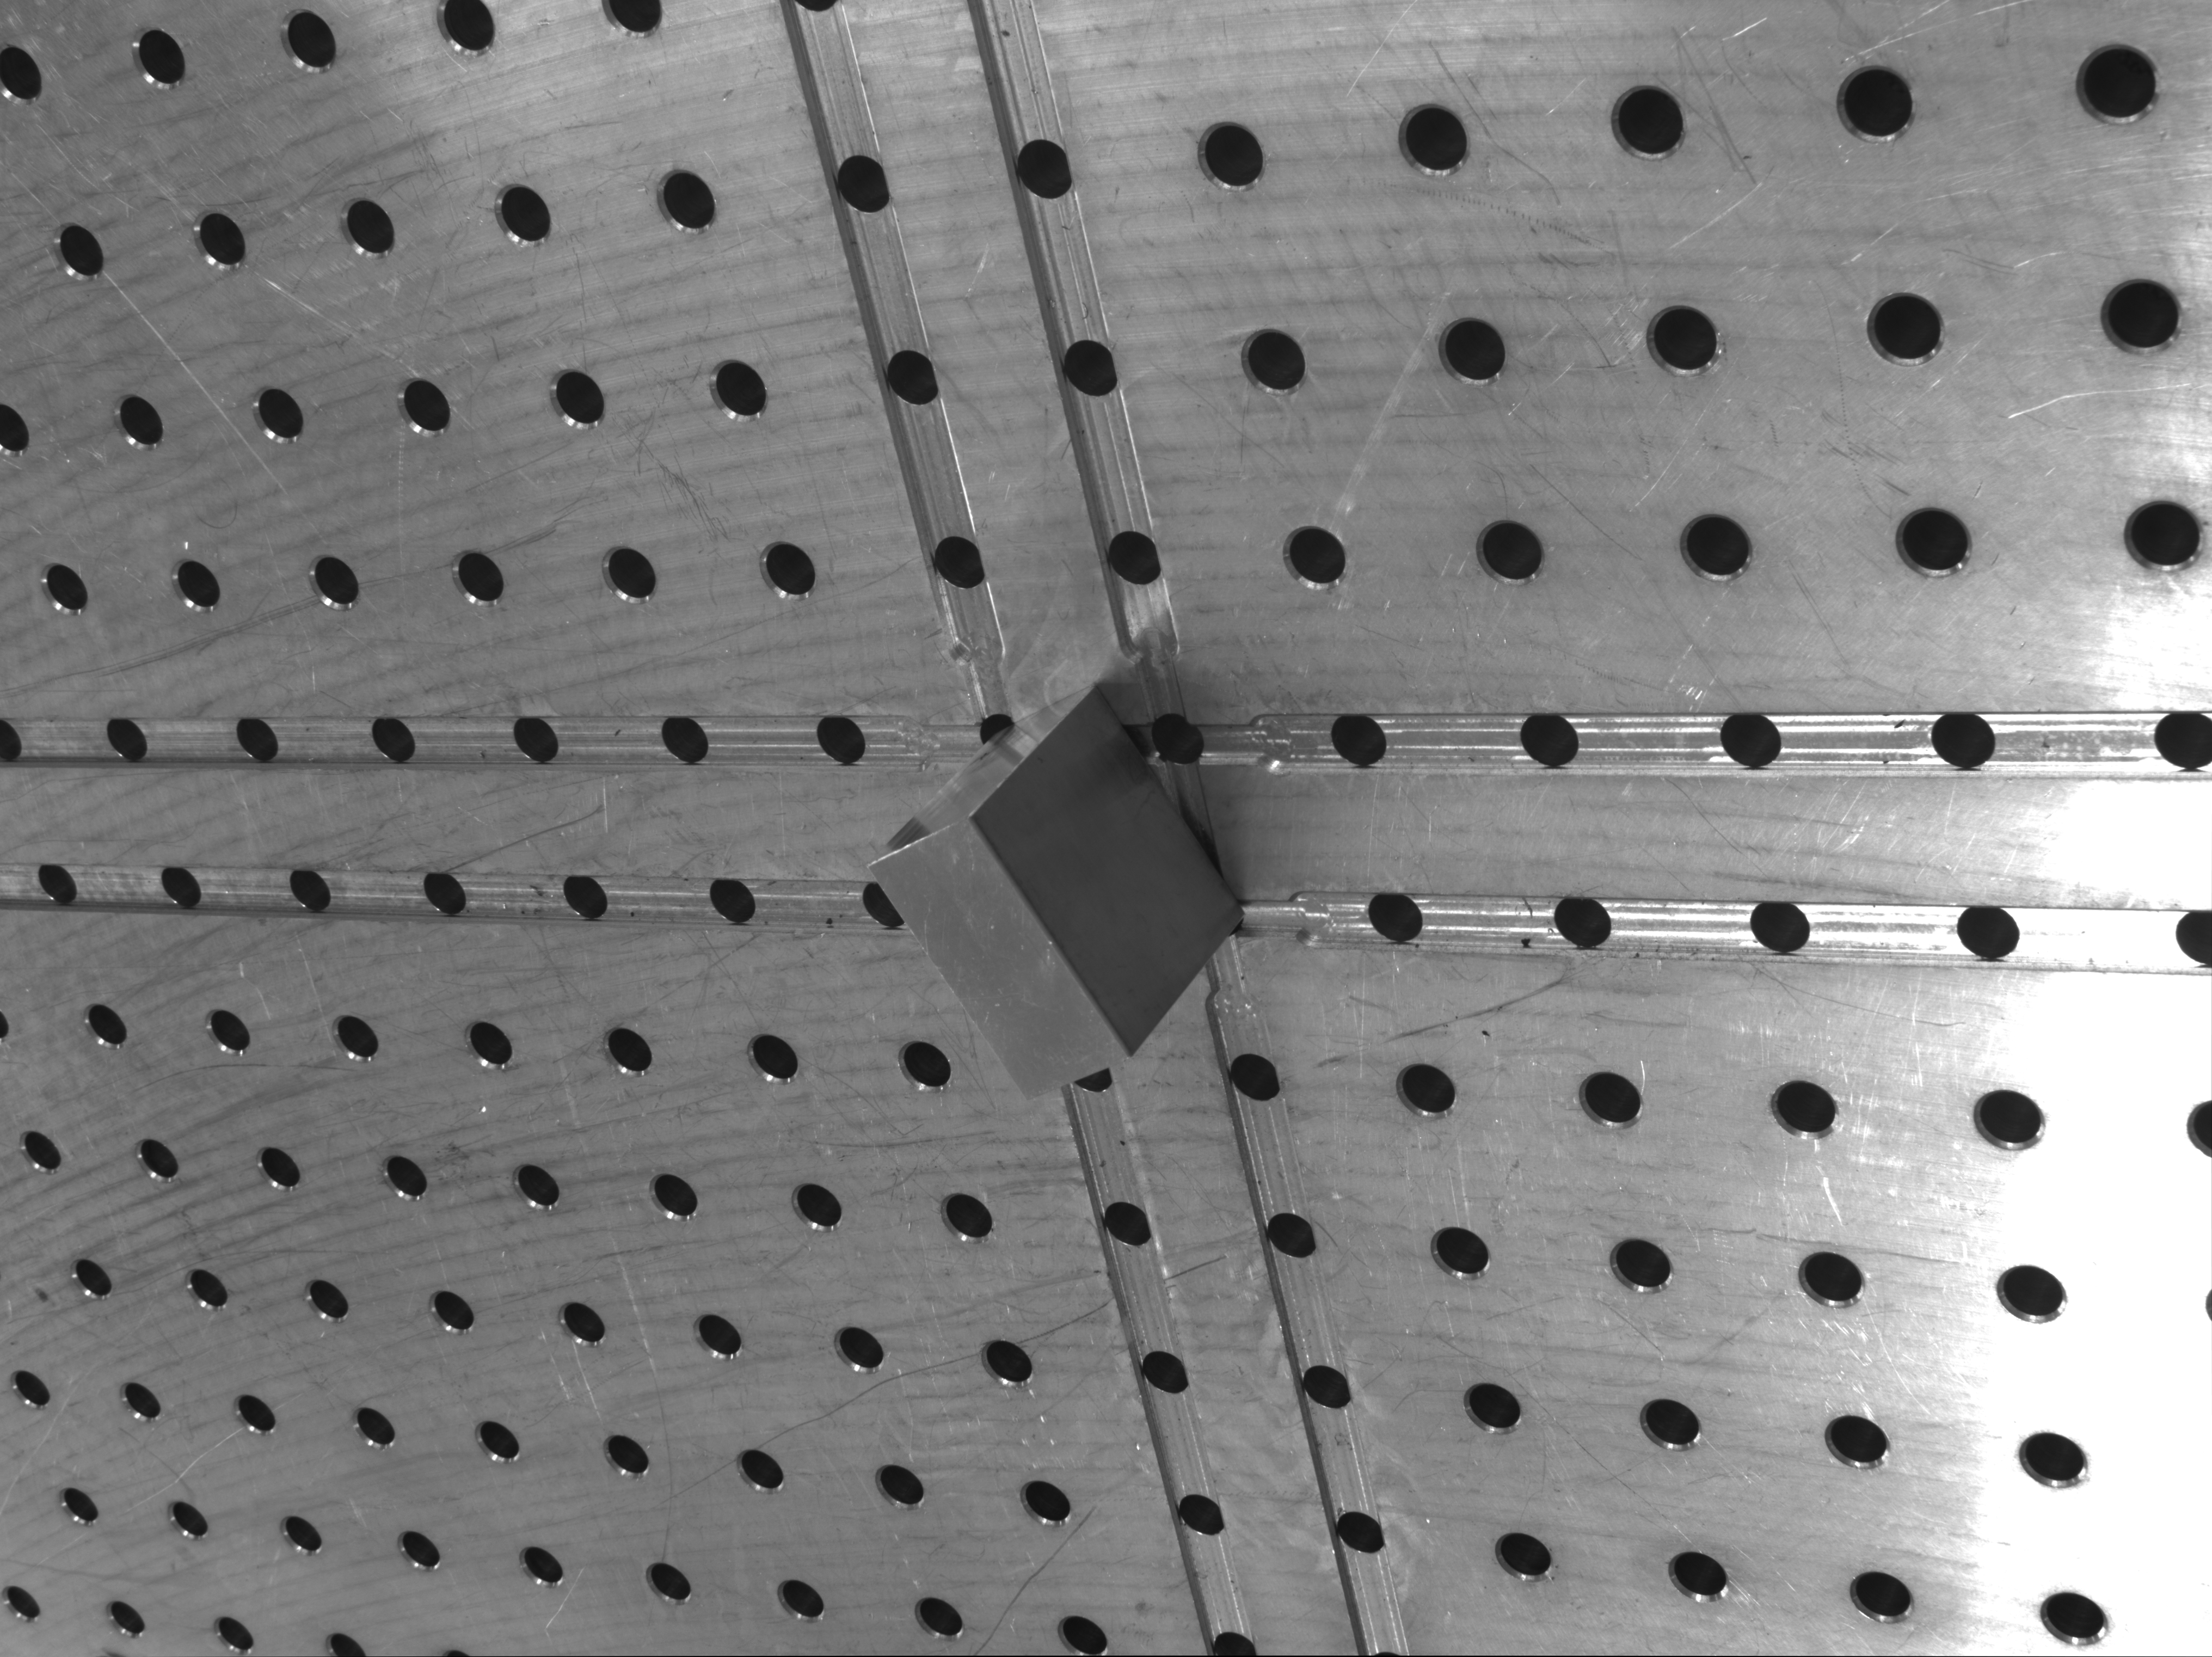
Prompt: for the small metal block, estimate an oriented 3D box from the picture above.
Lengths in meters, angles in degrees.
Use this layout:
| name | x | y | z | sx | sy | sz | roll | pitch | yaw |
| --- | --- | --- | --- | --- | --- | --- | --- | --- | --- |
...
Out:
| name | x | y | z | sx | sy | sz | roll | pitch | yaw |
| --- | --- | --- | --- | --- | --- | --- | --- | --- | --- |
| small metal block | -0.008 | 0.011 | 0.640 | 0.025 | 0.050 | 0.050 | -25 | 105 | 37 |
